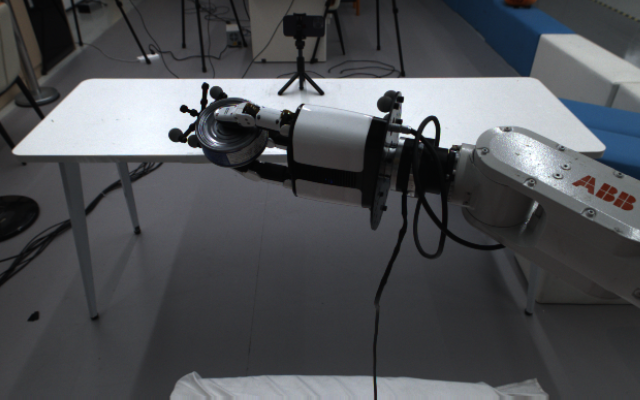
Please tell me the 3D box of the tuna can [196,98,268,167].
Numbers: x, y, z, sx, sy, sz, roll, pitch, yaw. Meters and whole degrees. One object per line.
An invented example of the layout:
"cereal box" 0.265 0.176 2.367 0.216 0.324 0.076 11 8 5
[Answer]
"tuna can" -0.105 -0.080 0.594 0.085 0.034 0.085 -1 61 2
